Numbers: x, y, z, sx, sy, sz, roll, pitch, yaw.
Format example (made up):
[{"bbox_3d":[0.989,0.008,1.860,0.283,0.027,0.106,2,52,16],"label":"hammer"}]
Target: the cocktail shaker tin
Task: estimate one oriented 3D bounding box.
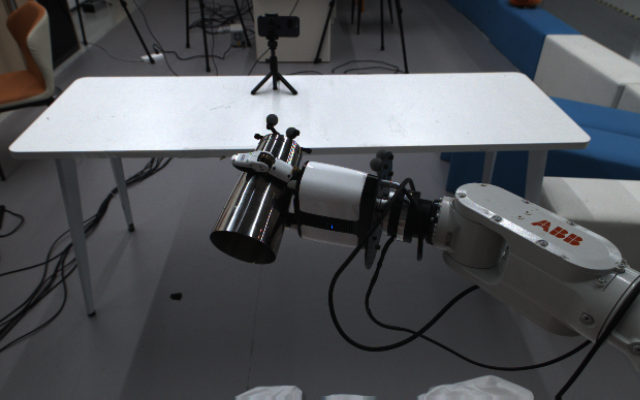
[{"bbox_3d":[-0.079,-0.007,0.673,0.093,0.093,0.170,10,60,12],"label":"cocktail shaker tin"}]
